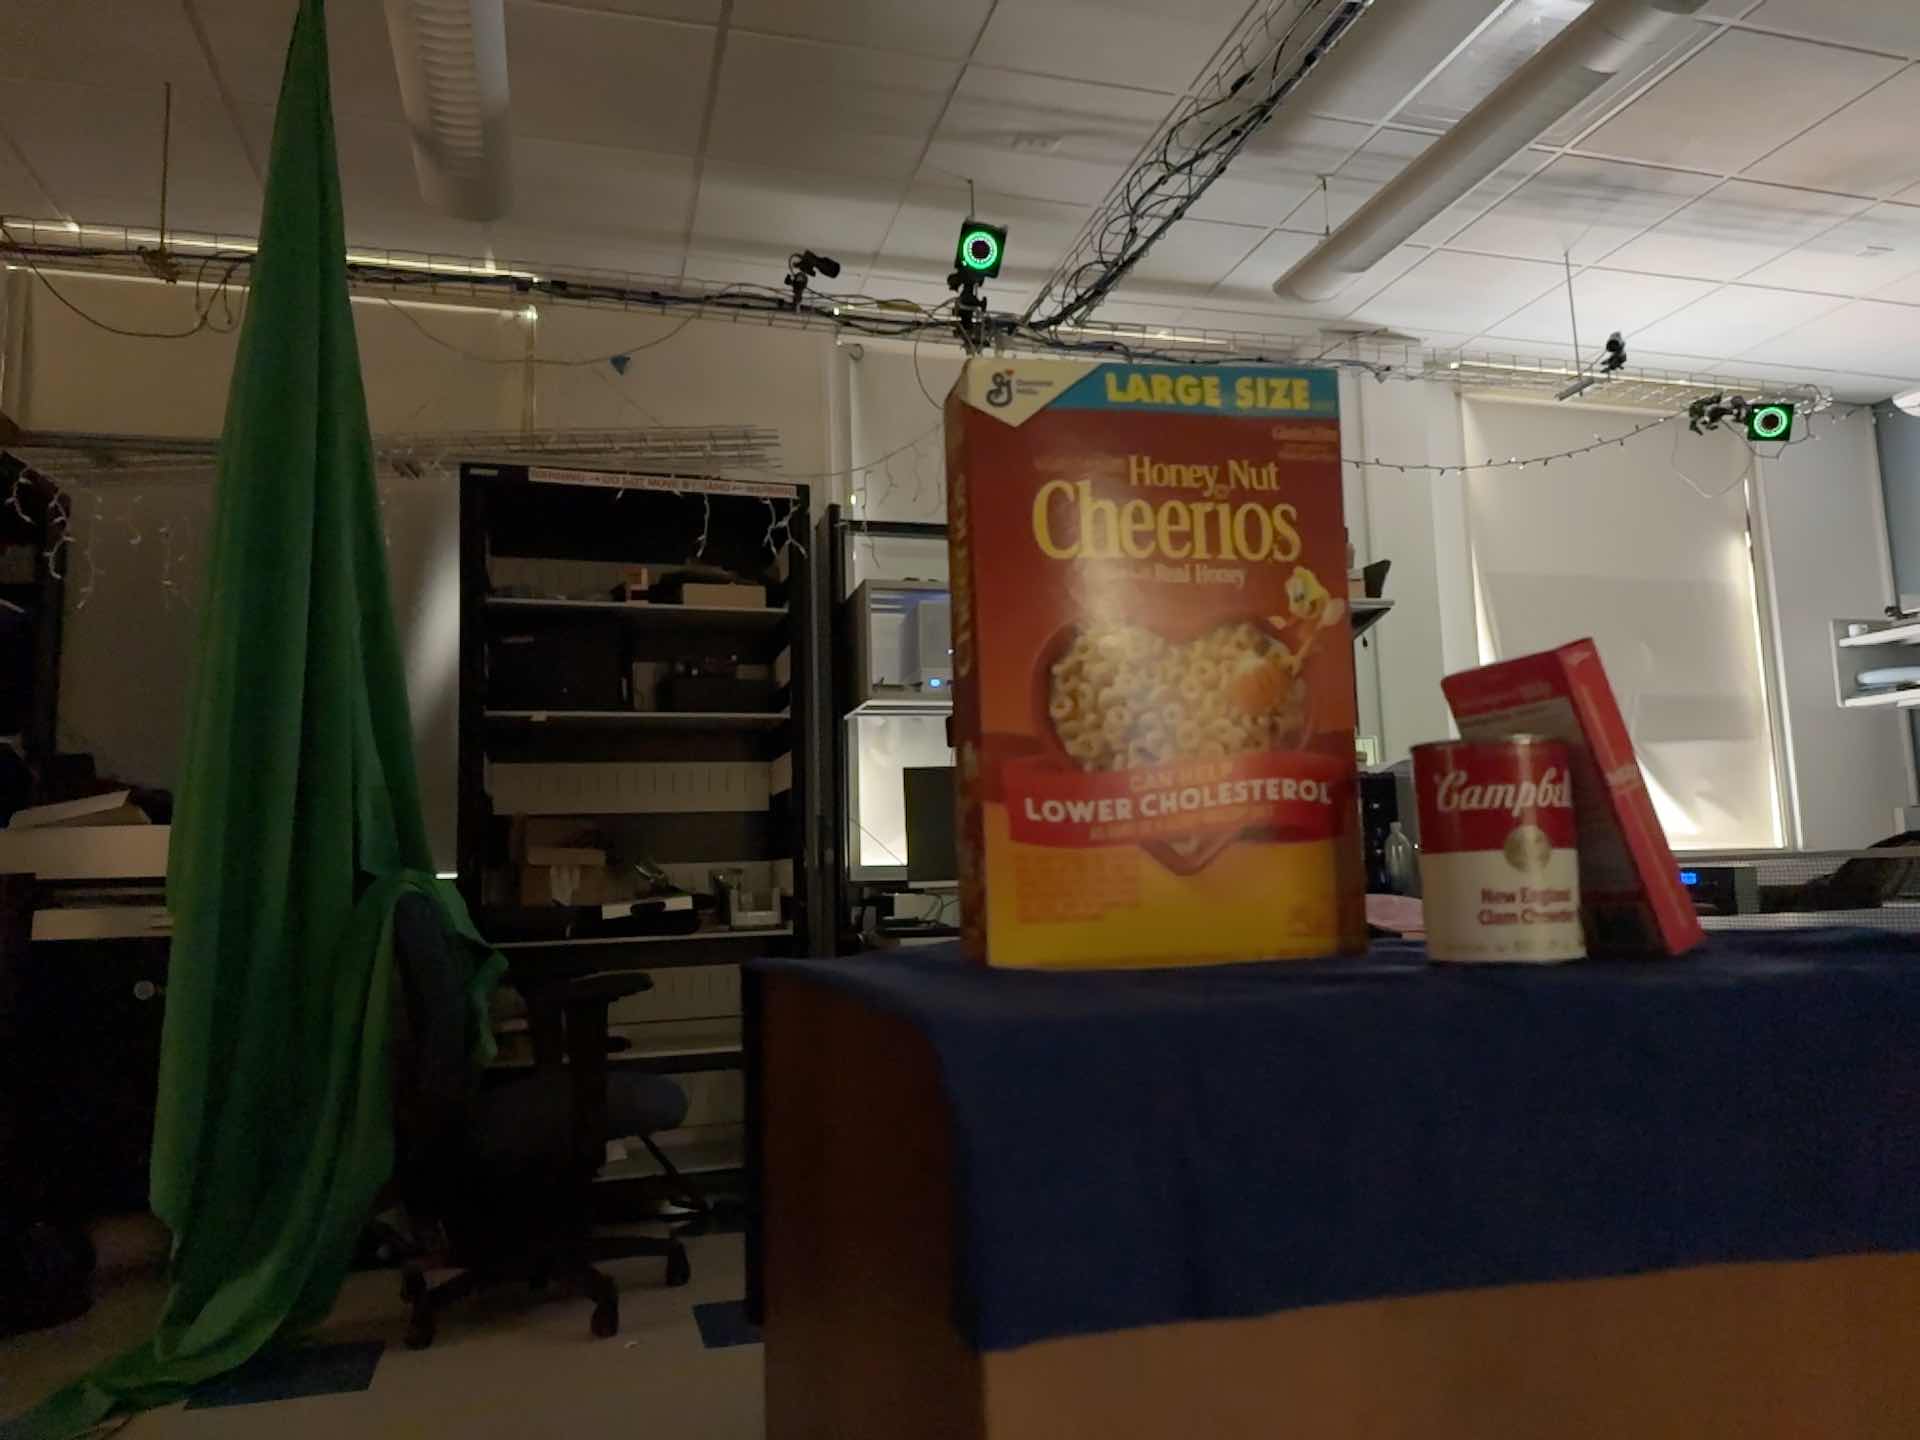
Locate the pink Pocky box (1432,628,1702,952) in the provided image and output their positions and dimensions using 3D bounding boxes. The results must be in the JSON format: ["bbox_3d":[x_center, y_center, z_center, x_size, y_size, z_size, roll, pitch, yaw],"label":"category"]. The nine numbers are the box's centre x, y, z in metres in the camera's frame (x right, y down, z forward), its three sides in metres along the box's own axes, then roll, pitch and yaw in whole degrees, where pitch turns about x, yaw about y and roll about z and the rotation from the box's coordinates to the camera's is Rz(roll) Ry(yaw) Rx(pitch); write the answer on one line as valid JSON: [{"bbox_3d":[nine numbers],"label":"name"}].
[{"bbox_3d":[0.295,0.036,0.662,0.029,0.155,0.084,-21,-1,-21],"label":"pink Pocky box"}]

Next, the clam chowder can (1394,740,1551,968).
[{"bbox_3d":[0.242,0.063,0.638,0.068,0.102,0.068,1,-6,0],"label":"clam chowder can"}]

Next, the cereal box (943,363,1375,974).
[{"bbox_3d":[0.098,-0.029,0.697,0.195,0.297,0.065,0,-6,-8],"label":"cereal box"}]
